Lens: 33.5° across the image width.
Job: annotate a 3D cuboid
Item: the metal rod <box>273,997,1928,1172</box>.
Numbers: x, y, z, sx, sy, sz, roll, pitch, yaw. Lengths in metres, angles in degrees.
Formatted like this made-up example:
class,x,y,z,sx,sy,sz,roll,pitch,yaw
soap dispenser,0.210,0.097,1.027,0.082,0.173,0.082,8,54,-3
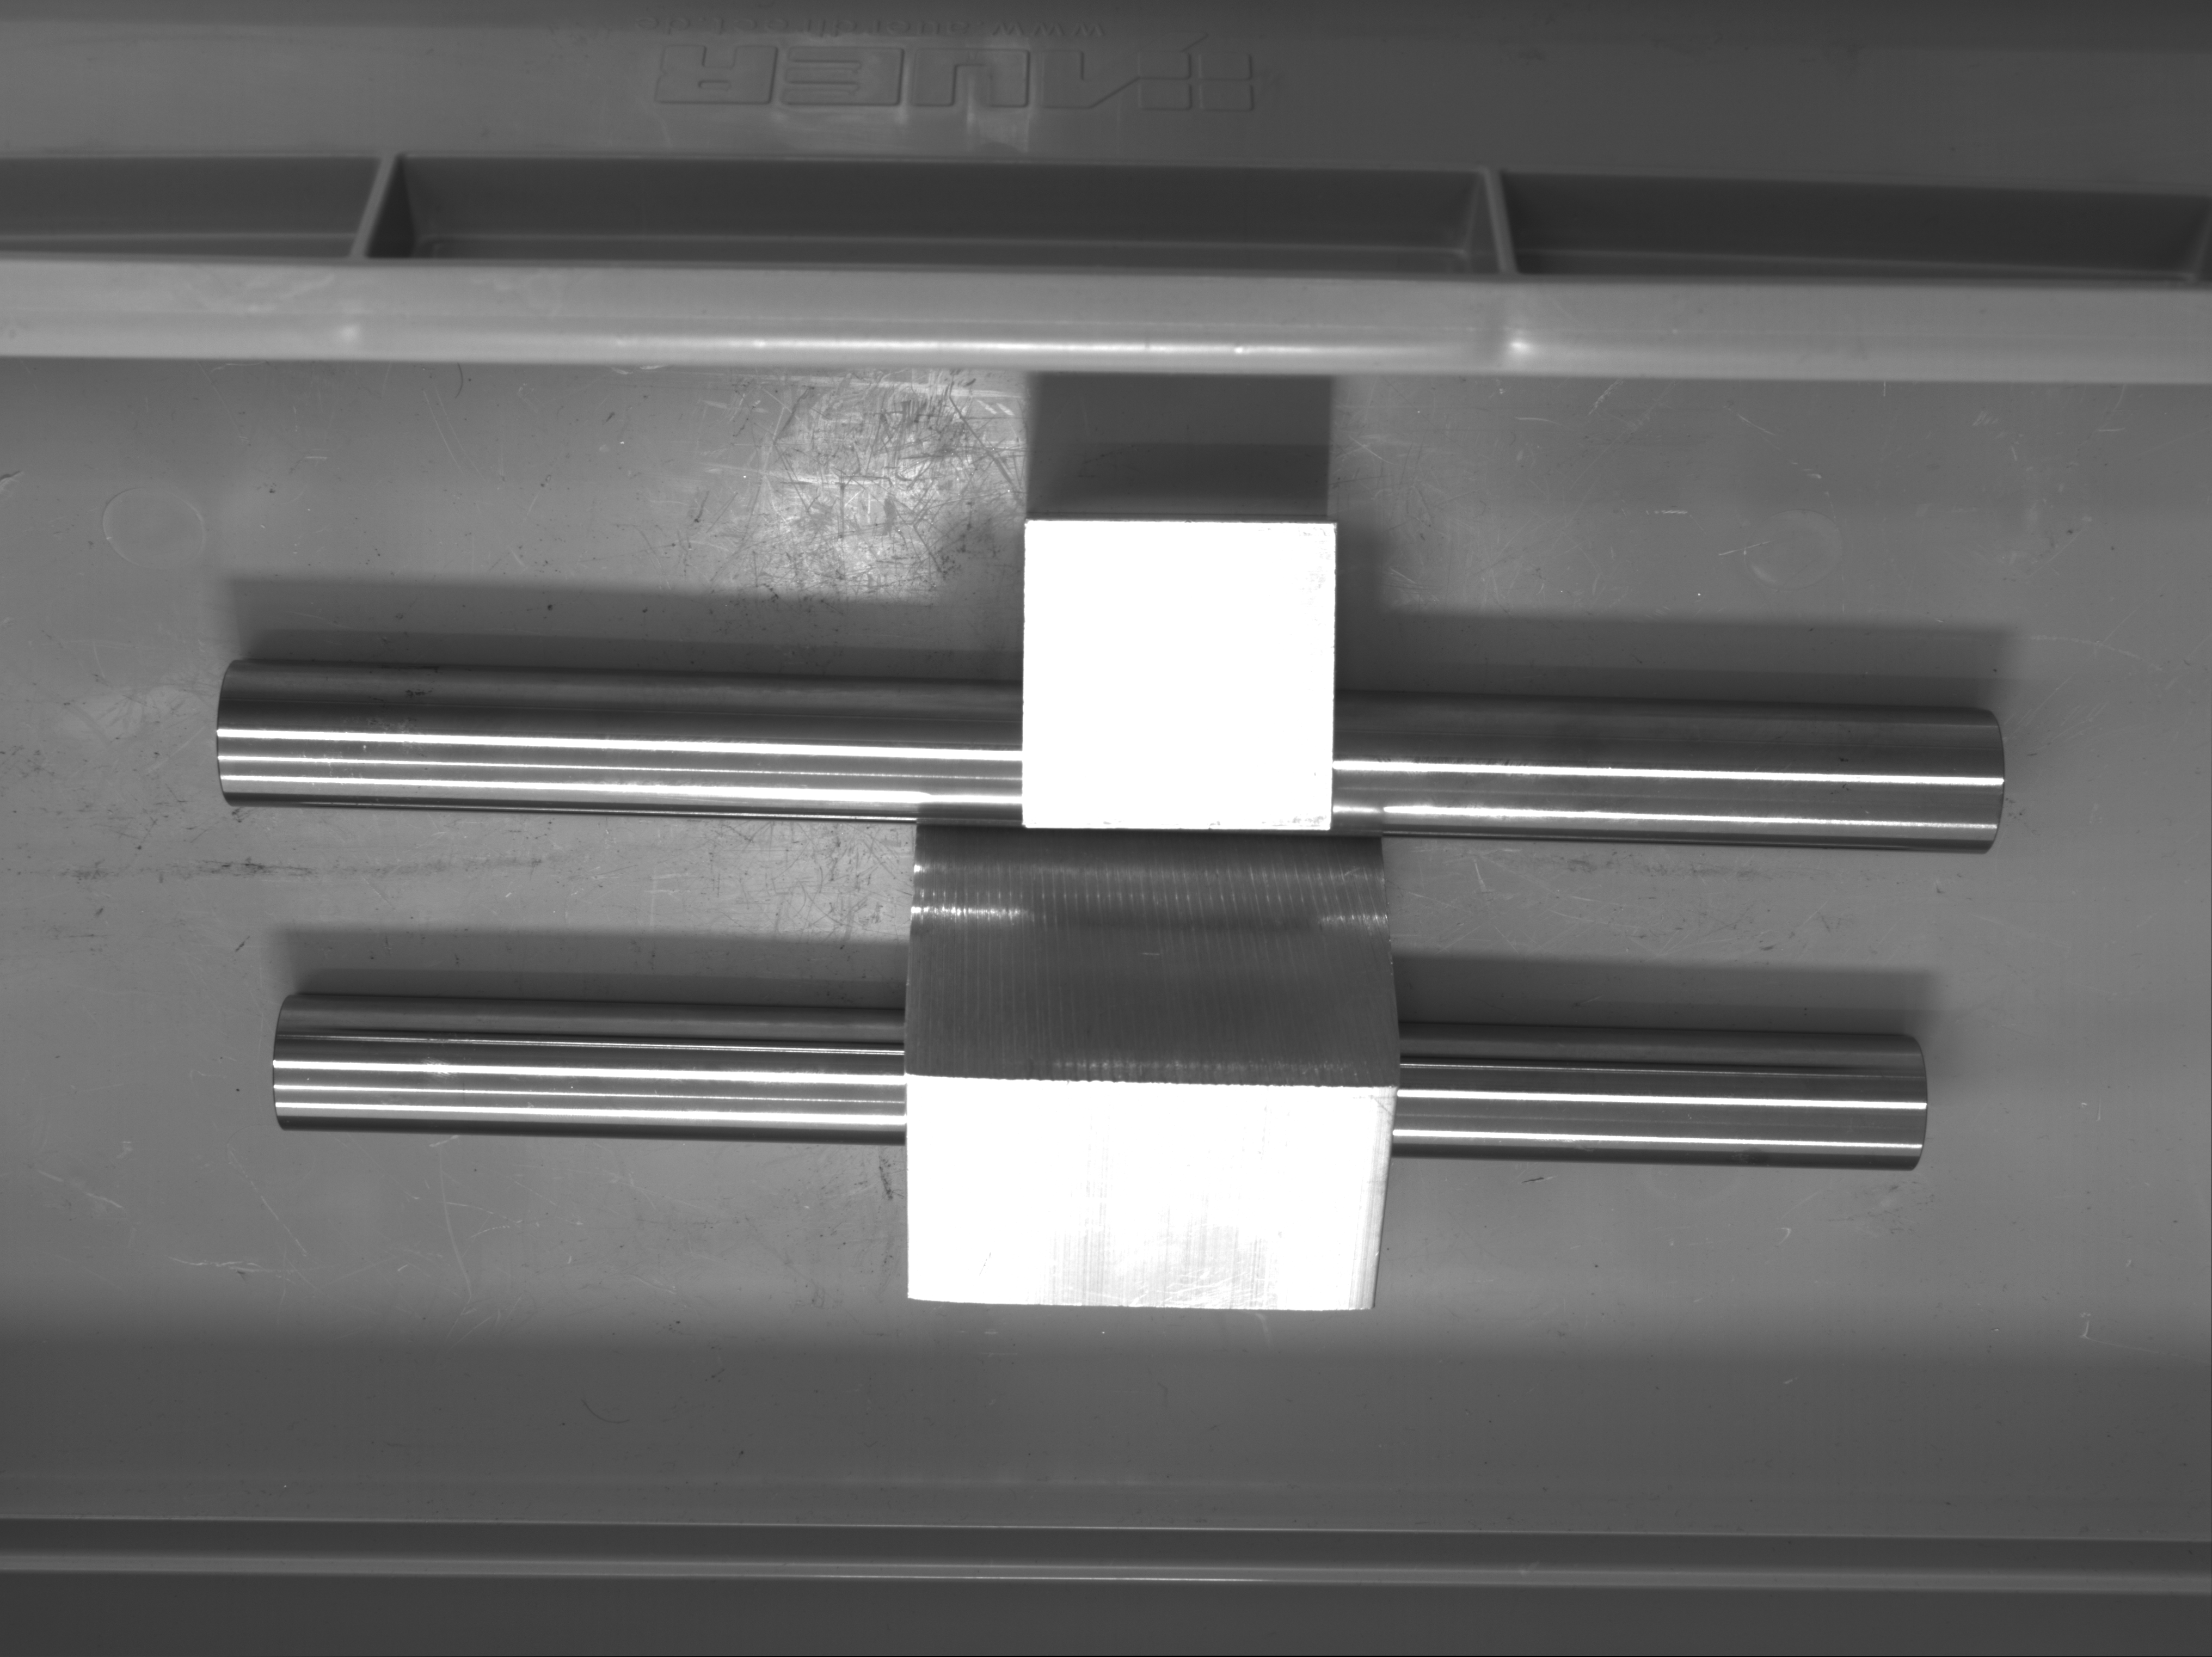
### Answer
class,x,y,z,sx,sy,sz,roll,pitch,yaw
metal rod,0.000,0.047,0.678,0.300,0.025,0.025,2,130,-1

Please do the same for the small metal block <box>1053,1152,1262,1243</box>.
class,x,y,z,sx,sy,sz,roll,pitch,yaw
small metal block,0.005,0.074,0.684,0.050,0.025,0.050,2,167,-2

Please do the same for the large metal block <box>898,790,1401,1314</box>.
class,x,y,z,sx,sy,sz,roll,pitch,yaw
large metal block,0.006,0.036,0.631,0.080,0.080,0.050,1,130,-1

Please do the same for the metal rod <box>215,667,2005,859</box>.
class,x,y,z,sx,sy,sz,roll,pitch,yaw
metal rod,0.001,-0.011,0.628,0.300,0.025,0.025,2,130,-1

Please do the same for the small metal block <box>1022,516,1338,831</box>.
class,x,y,z,sx,sy,sz,roll,pitch,yaw
small metal block,0.012,-0.026,0.601,0.050,0.025,0.050,1,96,-1
